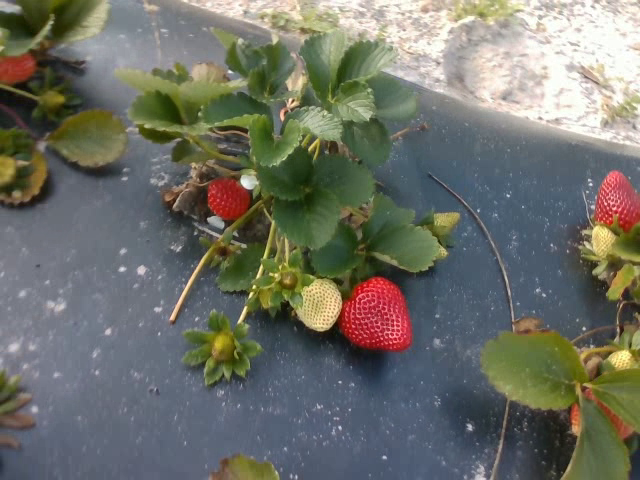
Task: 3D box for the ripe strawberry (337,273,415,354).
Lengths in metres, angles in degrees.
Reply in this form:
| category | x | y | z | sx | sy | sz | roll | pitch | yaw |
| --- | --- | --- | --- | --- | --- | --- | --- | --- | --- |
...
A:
| category | x | y | z | sx | sy | sz | roll | pitch | yaw |
| --- | --- | --- | --- | --- | --- | --- | --- | --- | --- |
| ripe strawberry | 0.039 | 0.055 | 0.405 | 0.048 | 0.051 | 0.055 | 37 | 9 | -36 |
